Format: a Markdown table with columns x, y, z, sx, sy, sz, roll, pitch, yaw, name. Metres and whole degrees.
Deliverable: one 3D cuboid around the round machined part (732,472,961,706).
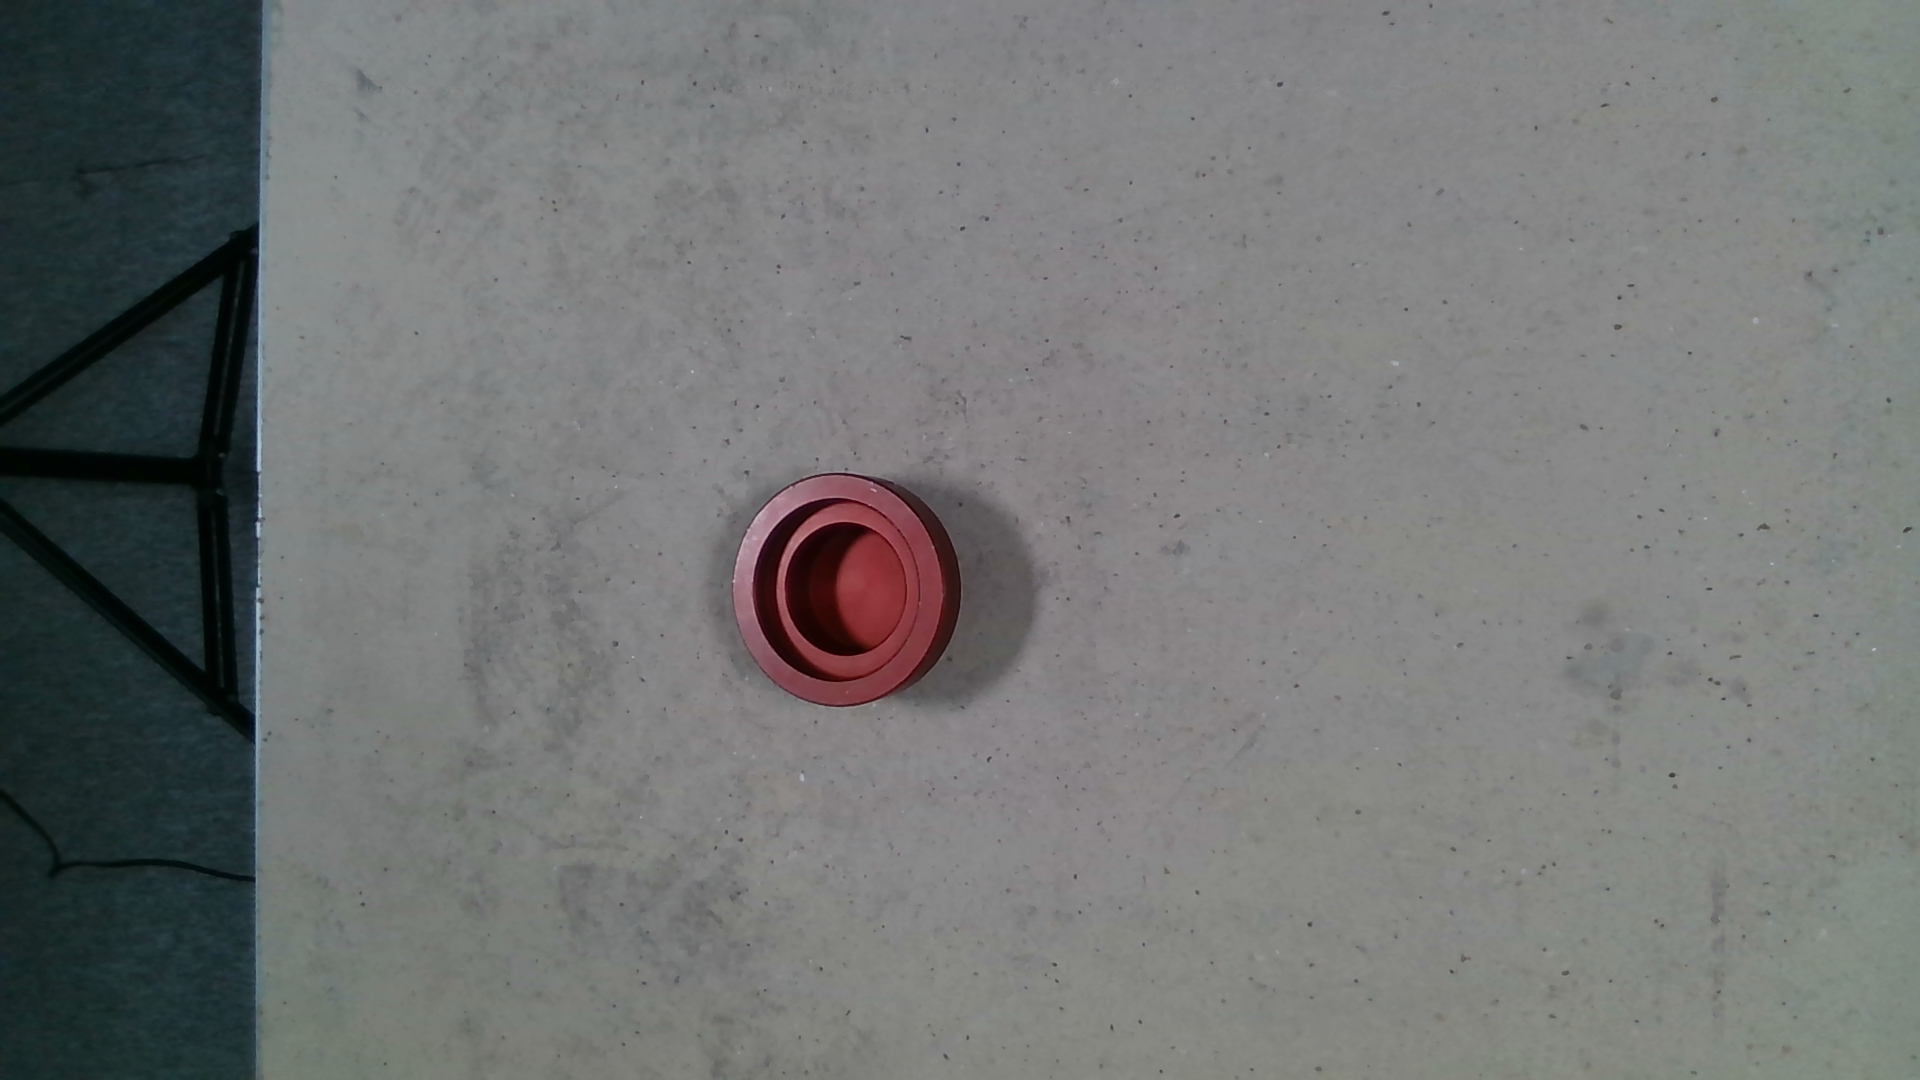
| x | y | z | sx | sy | sz | roll | pitch | yaw | name |
| --- | --- | --- | --- | --- | --- | --- | --- | --- | --- |
| -0.045 | 0.020 | 0.594 | 0.098 | 0.042 | 0.098 | 0 | 91 | 20 | round machined part |
